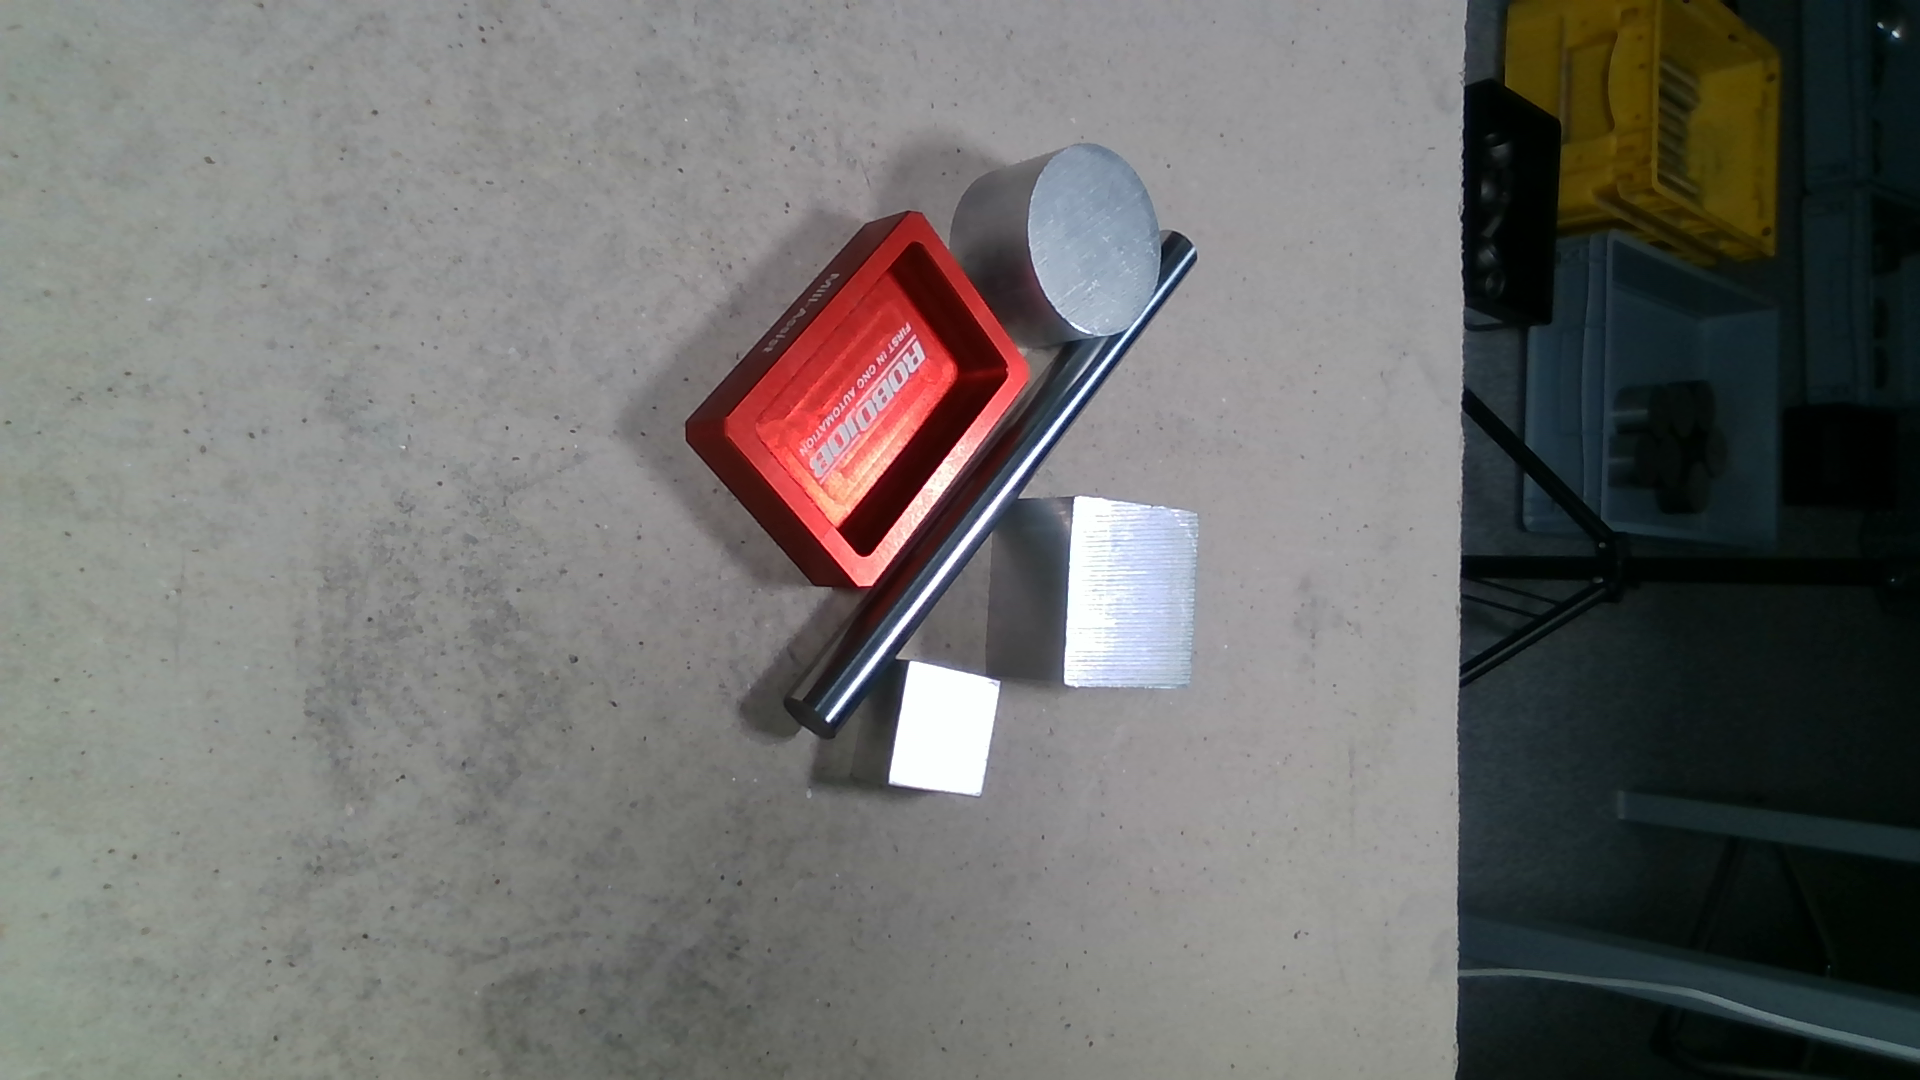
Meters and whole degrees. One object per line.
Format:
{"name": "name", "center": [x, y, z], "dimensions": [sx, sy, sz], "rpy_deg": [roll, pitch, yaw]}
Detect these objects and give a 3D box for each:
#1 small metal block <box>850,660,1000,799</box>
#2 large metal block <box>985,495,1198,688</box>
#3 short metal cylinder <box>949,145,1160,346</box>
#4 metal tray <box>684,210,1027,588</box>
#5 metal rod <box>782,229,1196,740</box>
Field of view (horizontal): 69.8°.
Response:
{"name": "small metal block", "center": [-0.014, 0.078, 0.572], "dimensions": [0.050, 0.025, 0.050], "rpy_deg": [17, 79, -39]}
{"name": "large metal block", "center": [0.060, 0.024, 0.617], "dimensions": [0.080, 0.050, 0.080], "rpy_deg": [6, 86, -40]}
{"name": "short metal cylinder", "center": [0.042, -0.127, 0.602], "dimensions": [0.080, 0.050, 0.080], "rpy_deg": [0, 90, -40]}
{"name": "metal tray", "center": [-0.037, -0.056, 0.549], "dimensions": [0.090, 0.030, 0.130], "rpy_deg": [52, 60, -28]}
{"name": "metal rod", "center": [0.023, -0.036, 0.602], "dimensions": [0.299, 0.025, 0.025], "rpy_deg": [-52, 121, -27]}
